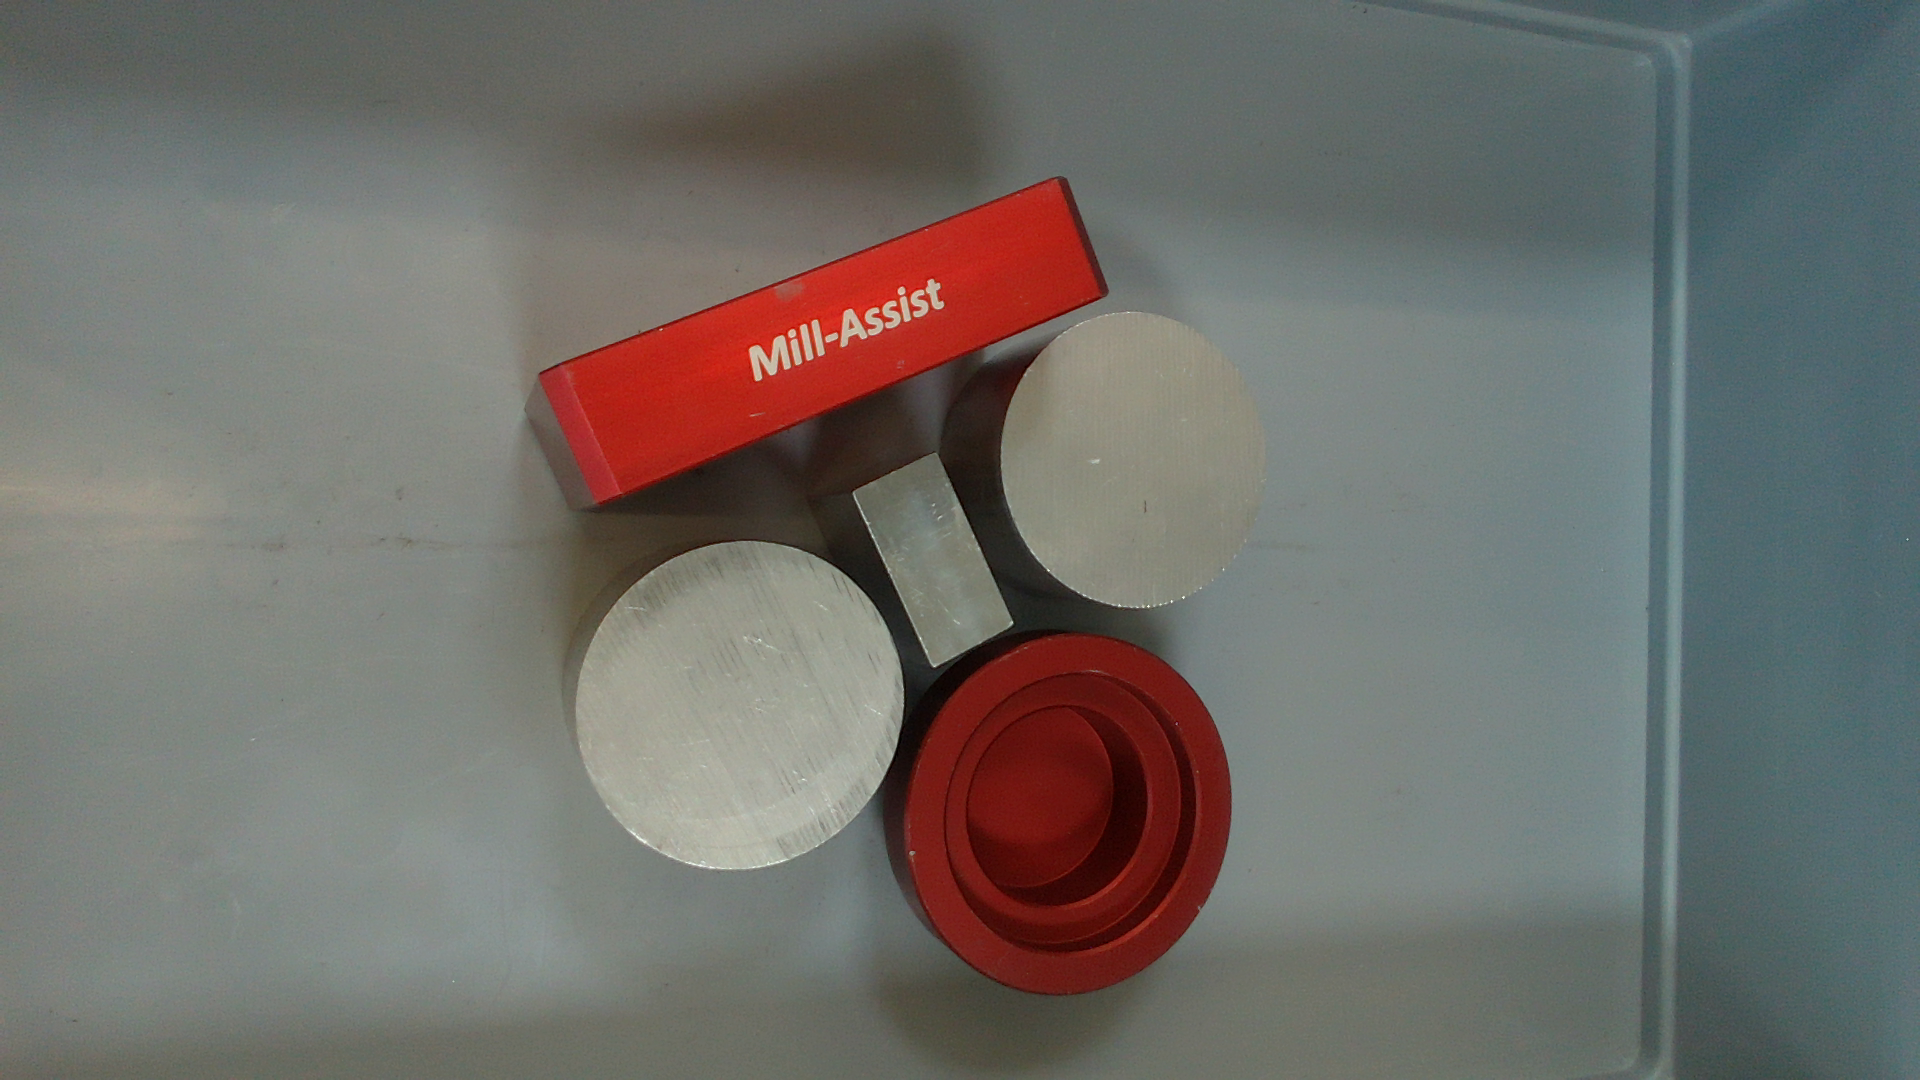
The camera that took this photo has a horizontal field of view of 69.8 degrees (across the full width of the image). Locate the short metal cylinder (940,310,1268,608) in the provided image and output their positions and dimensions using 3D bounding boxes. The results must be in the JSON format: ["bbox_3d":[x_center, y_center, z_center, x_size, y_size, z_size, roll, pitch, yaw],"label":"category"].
[{"bbox_3d":[0.040,-0.022,0.393,0.080,0.050,0.080,0,90,-20],"label":"short metal cylinder"}]

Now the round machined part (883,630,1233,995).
[{"bbox_3d":[0.025,0.074,0.392,0.098,0.042,0.098,0,90,-20],"label":"round machined part"}]

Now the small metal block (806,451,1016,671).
[{"bbox_3d":[-0.015,0.005,0.373,0.025,0.050,0.050,-27,99,-18],"label":"small metal block"}]

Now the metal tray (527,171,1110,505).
[{"bbox_3d":[-0.039,-0.048,0.342,0.130,0.090,0.030,-25,98,-18],"label":"metal tray"}]

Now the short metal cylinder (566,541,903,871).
[{"bbox_3d":[-0.060,0.040,0.357,0.080,0.050,0.080,0,90,-20],"label":"short metal cylinder"}]
